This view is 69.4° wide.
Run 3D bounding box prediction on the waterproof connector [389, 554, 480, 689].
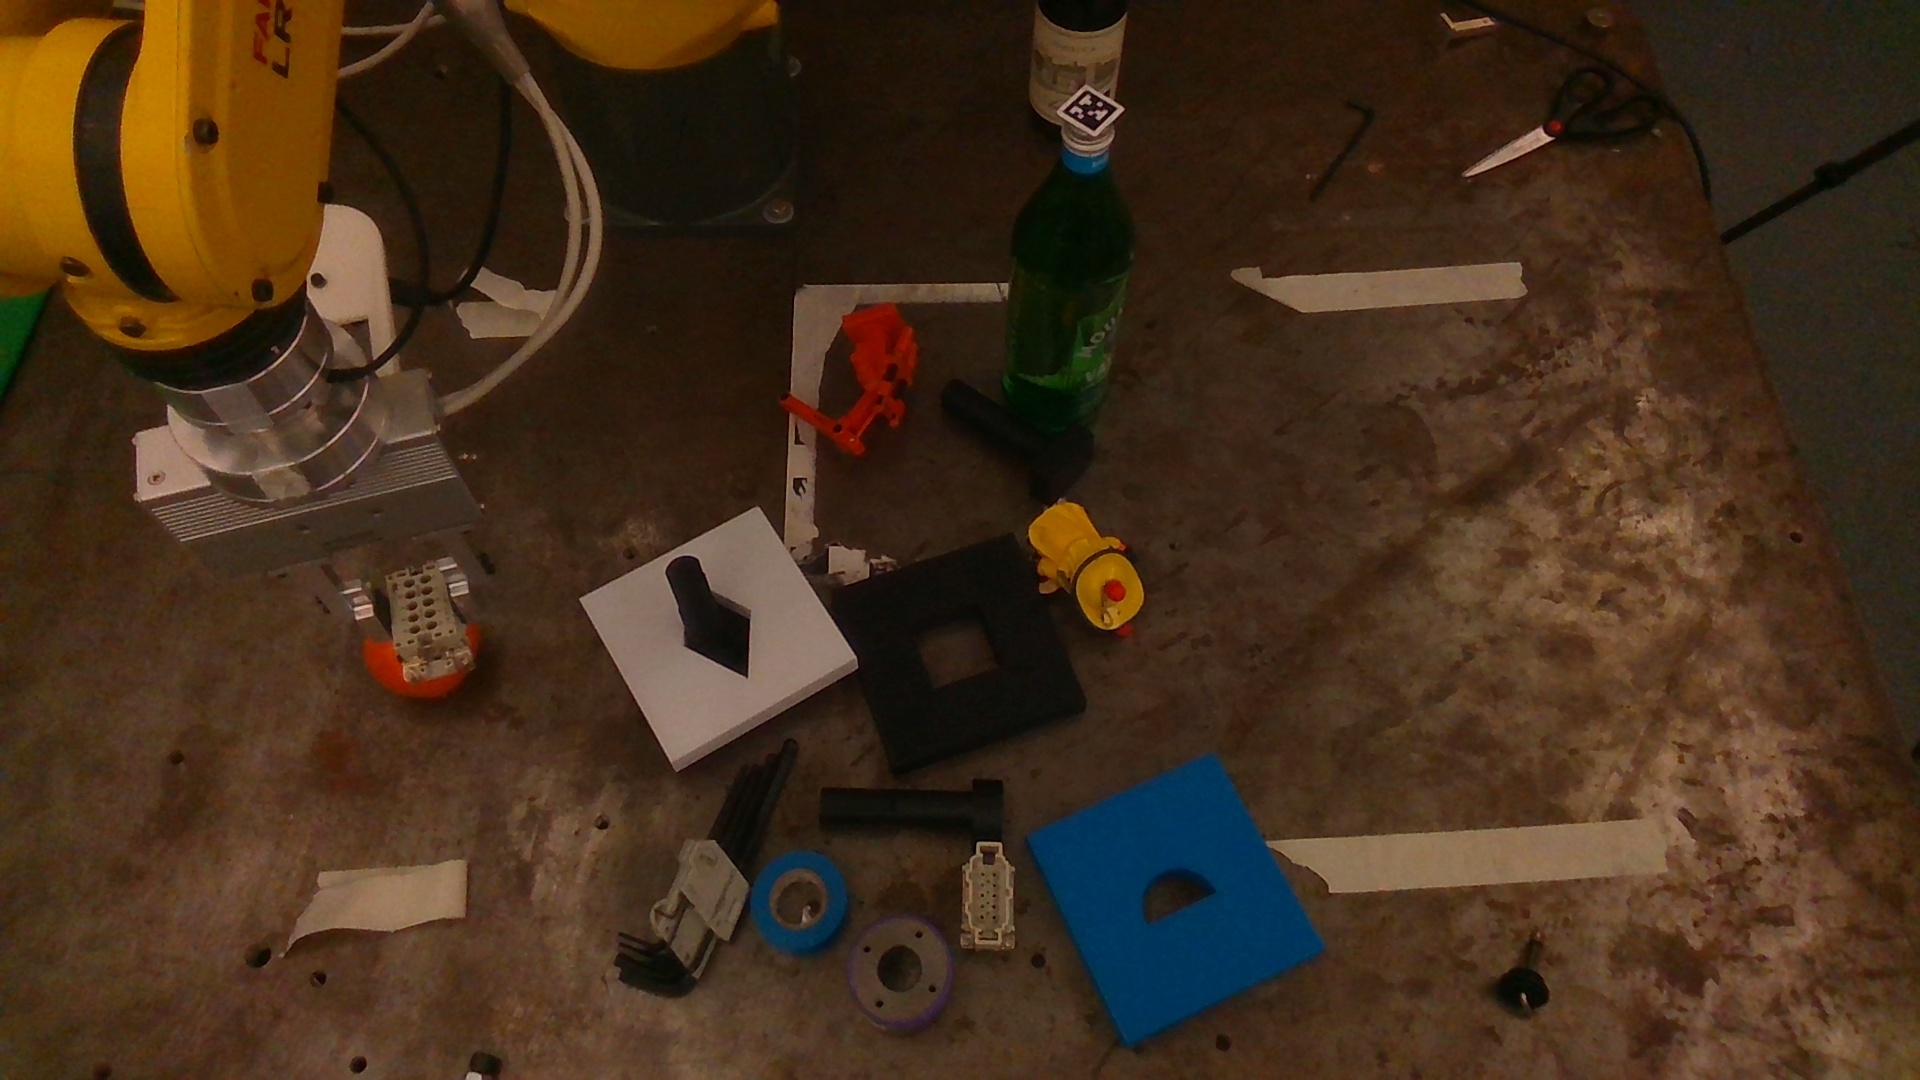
[{"bbox_3d":[-0.269,0.040,0.714,0.037,0.038,0.069,-14,63,-6],"label":"waterproof connector"}]
